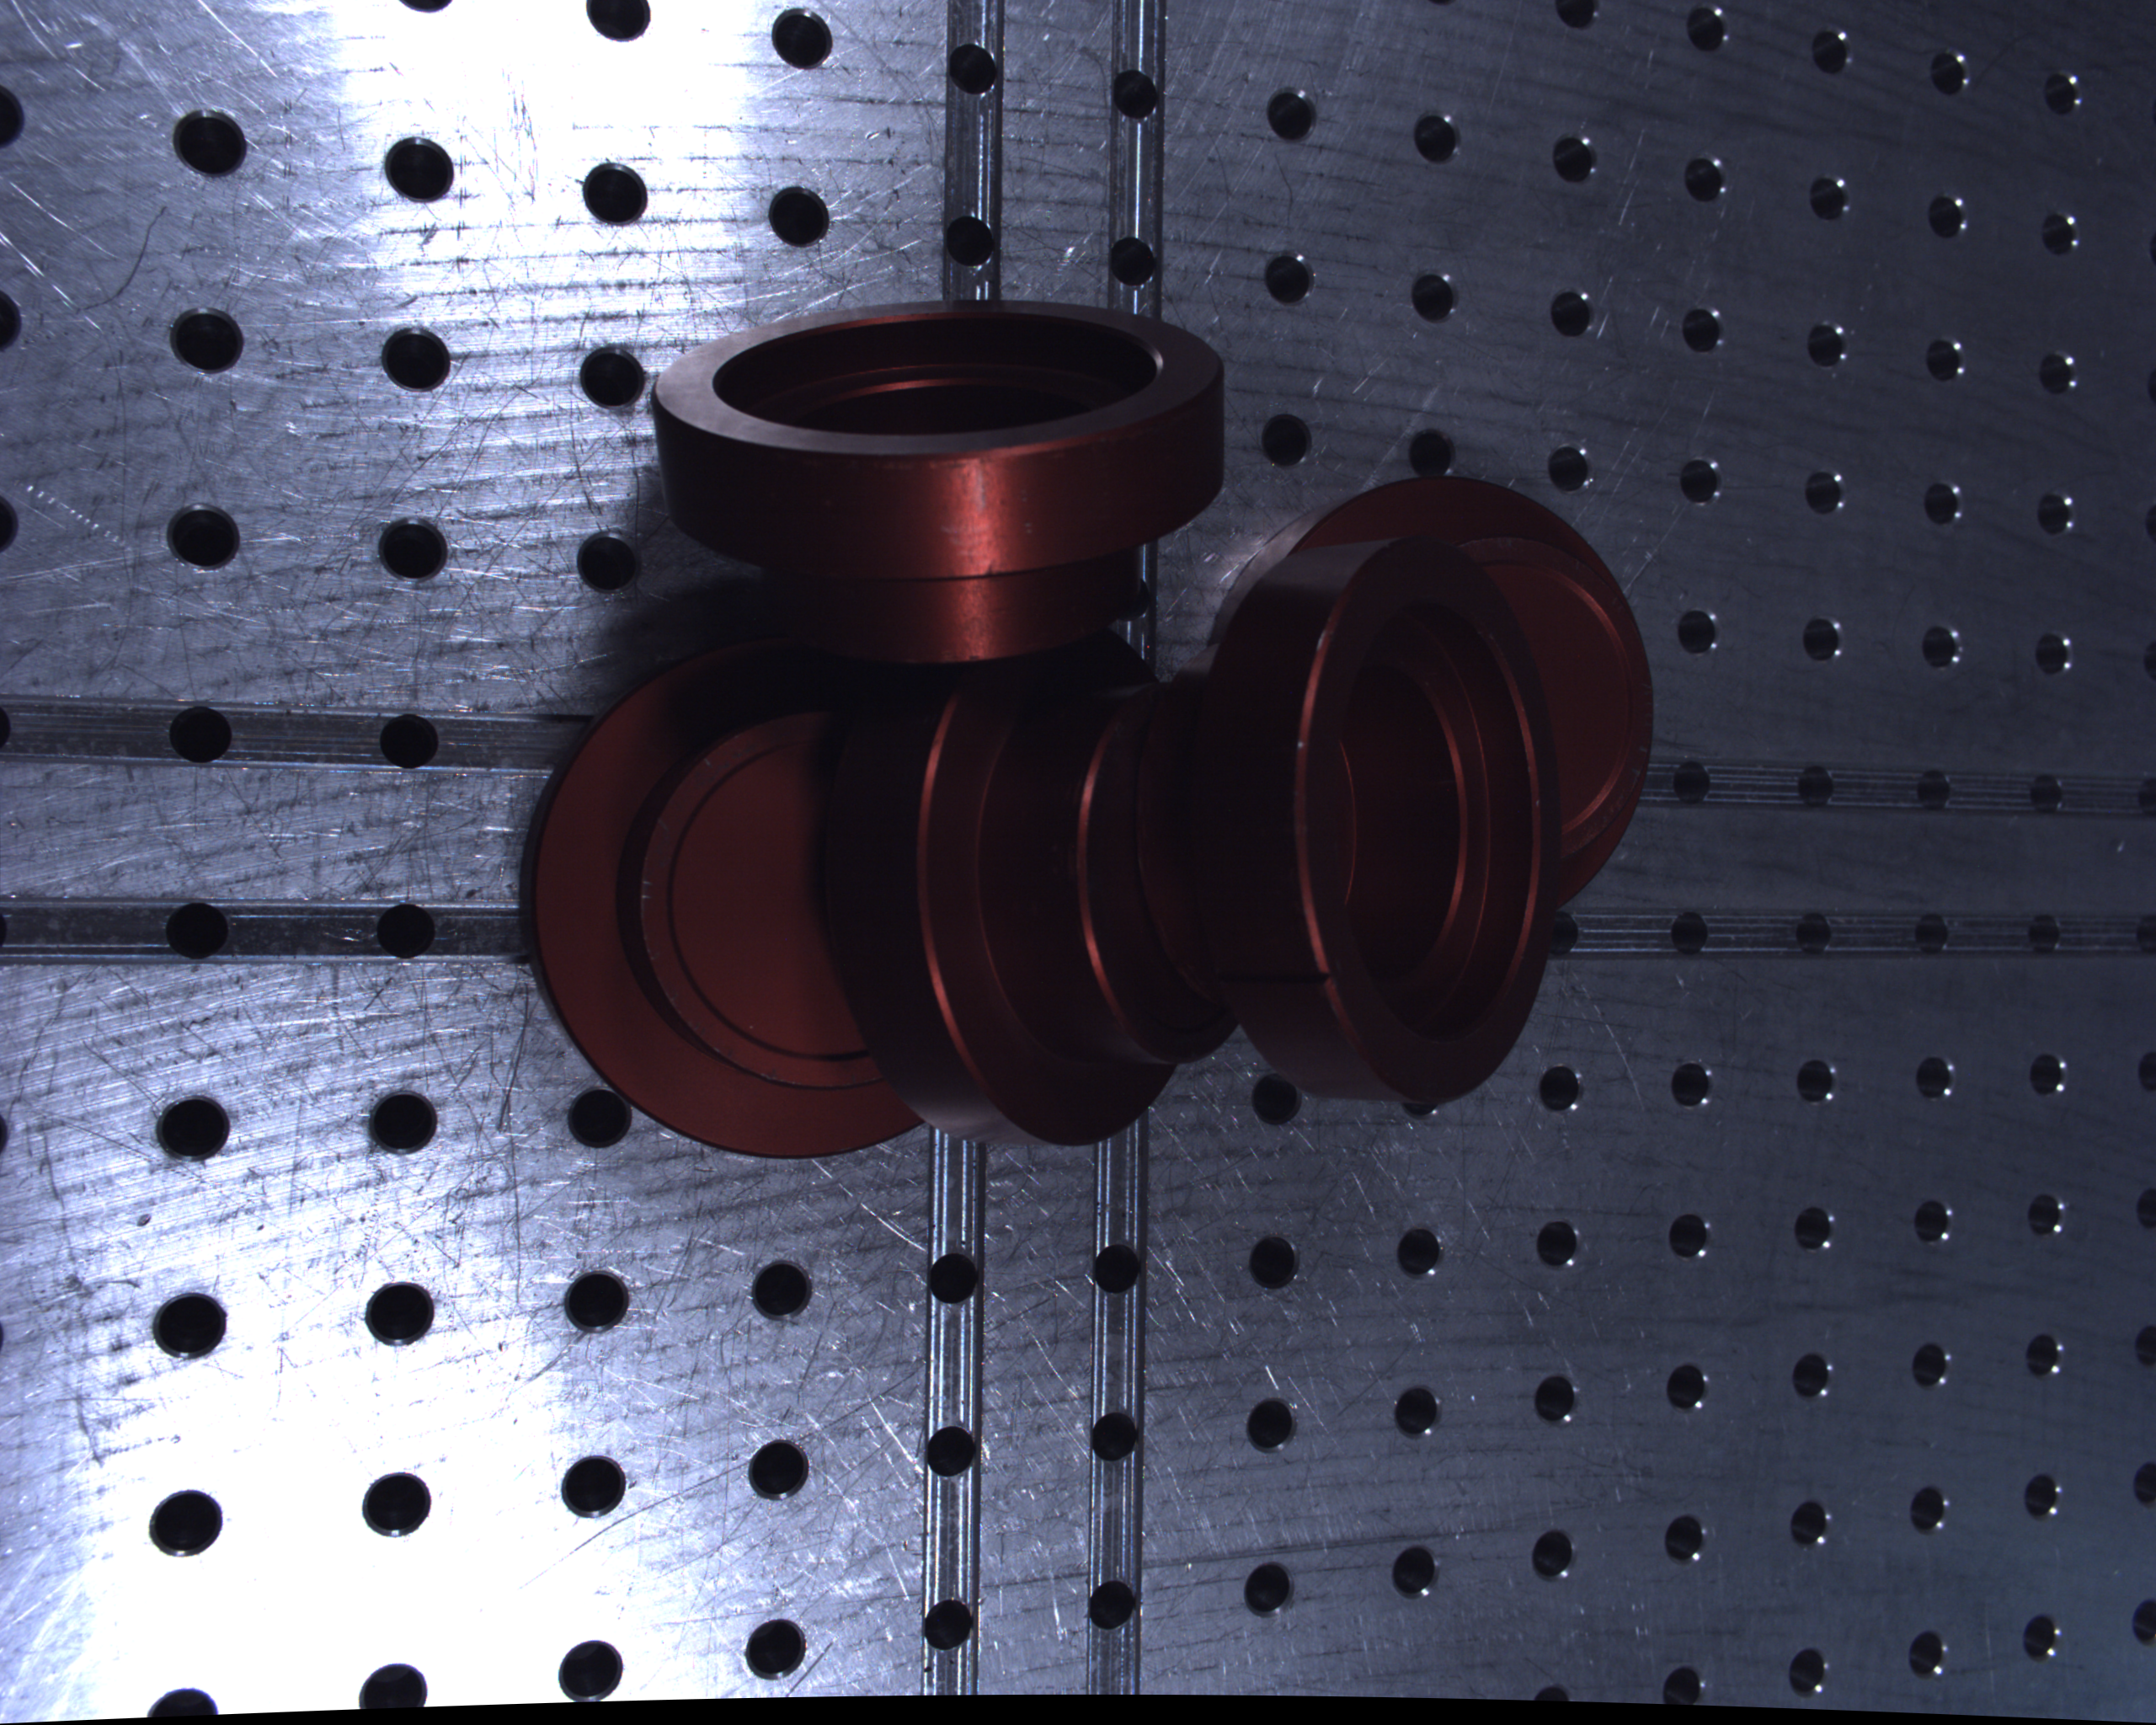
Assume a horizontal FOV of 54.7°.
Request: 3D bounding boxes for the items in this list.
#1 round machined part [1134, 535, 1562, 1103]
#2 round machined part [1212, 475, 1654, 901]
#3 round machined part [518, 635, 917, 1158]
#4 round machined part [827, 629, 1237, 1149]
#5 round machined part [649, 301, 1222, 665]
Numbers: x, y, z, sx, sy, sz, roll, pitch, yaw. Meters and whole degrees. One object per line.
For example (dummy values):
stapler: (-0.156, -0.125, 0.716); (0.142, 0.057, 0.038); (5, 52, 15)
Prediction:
round machined part: (0.046, -0.007, 0.371); (0.099, 0.042, 0.097); (2, 87, -53)
round machined part: (0.079, -0.032, 0.434); (0.099, 0.042, 0.097); (0, 90, -21)
round machined part: (-0.051, 0.006, 0.386); (0.099, 0.042, 0.097); (0, 90, -21)
round machined part: (0.002, 0.003, 0.380); (0.099, 0.042, 0.097); (8, 80, -57)
round machined part: (-0.024, -0.067, 0.371); (0.099, 0.098, 0.042); (-13, 120, -20)
